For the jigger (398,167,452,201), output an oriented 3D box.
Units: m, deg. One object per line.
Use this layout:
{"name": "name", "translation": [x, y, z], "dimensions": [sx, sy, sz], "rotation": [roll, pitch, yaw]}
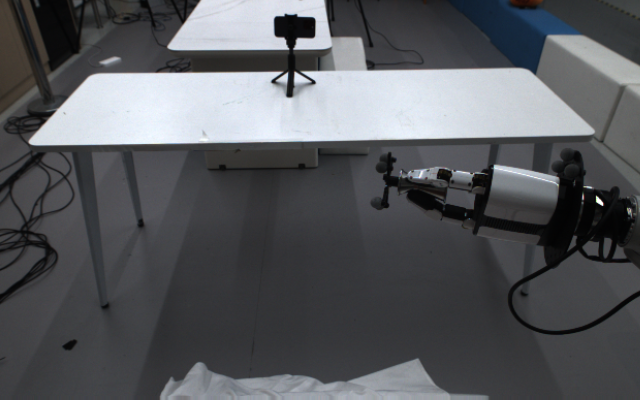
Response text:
{"name": "jigger", "translation": [0.155, -0.026, 0.694], "dimensions": [0.071, 0.043, 0.043], "rotation": [7, 35, 13]}
